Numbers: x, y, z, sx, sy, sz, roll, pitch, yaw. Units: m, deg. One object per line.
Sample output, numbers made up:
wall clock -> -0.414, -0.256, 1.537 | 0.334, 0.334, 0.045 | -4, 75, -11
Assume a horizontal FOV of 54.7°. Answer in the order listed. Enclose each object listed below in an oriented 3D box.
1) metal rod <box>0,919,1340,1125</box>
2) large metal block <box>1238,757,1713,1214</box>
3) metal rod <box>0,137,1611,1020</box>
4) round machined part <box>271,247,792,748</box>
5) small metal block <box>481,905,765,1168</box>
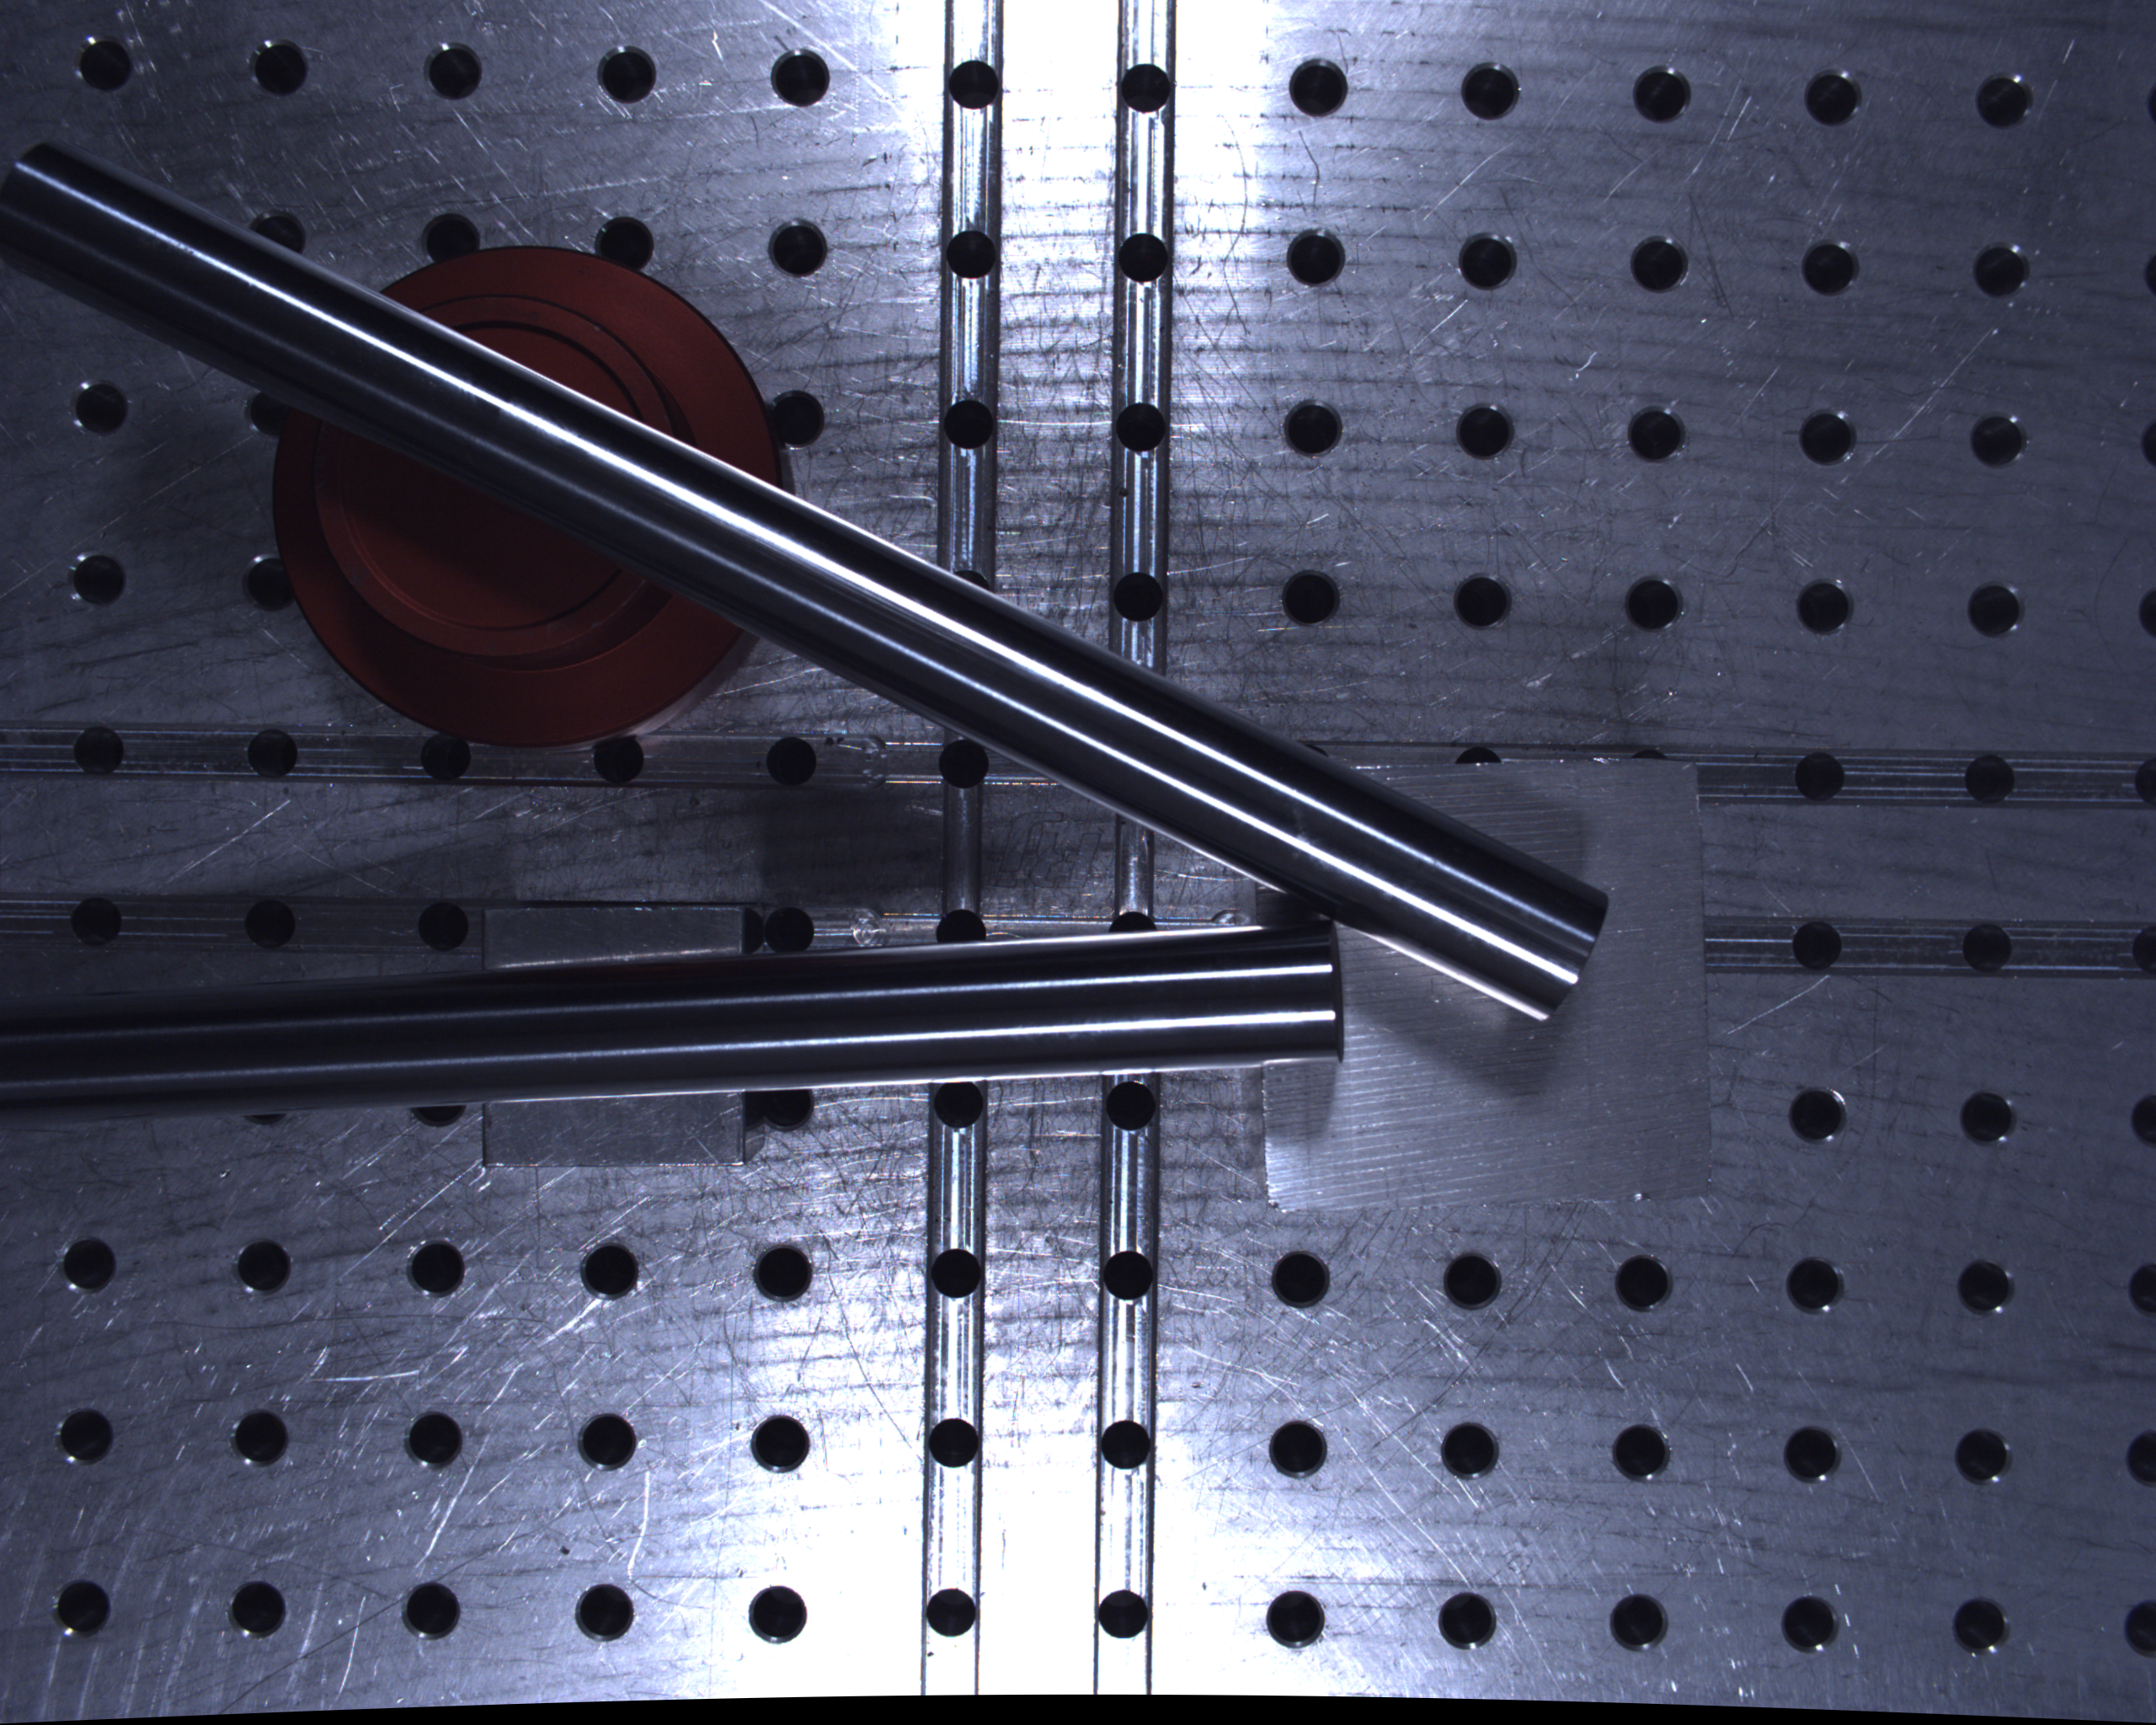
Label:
metal rod -> -0.104, 0.032, 0.385 | 0.301, 0.025, 0.025 | -4, 90, 10
large metal block -> 0.072, 0.022, 0.399 | 0.081, 0.050, 0.079 | -2, 90, -1
metal rod -> -0.049, -0.050, 0.364 | 0.301, 0.025, 0.025 | 26, 90, 2
round machined part -> -0.107, -0.071, 0.403 | 0.099, 0.042, 0.097 | 0, 90, -1
small metal block -> -0.089, 0.034, 0.413 | 0.050, 0.025, 0.050 | 0, 90, -1
